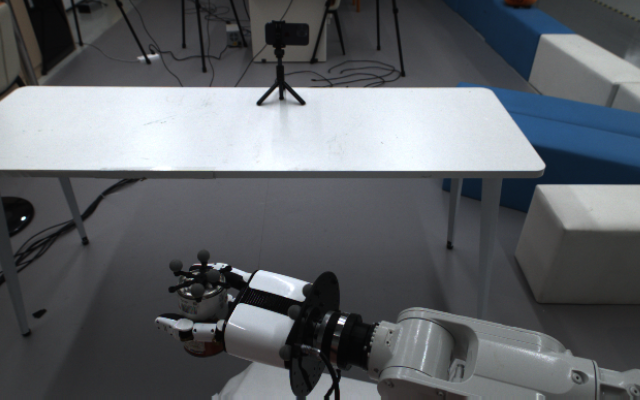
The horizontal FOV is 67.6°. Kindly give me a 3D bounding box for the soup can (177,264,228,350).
[{"bbox_3d":[-0.157,0.158,0.666,0.067,0.101,0.067,1,25,0],"label":"soup can"}]
